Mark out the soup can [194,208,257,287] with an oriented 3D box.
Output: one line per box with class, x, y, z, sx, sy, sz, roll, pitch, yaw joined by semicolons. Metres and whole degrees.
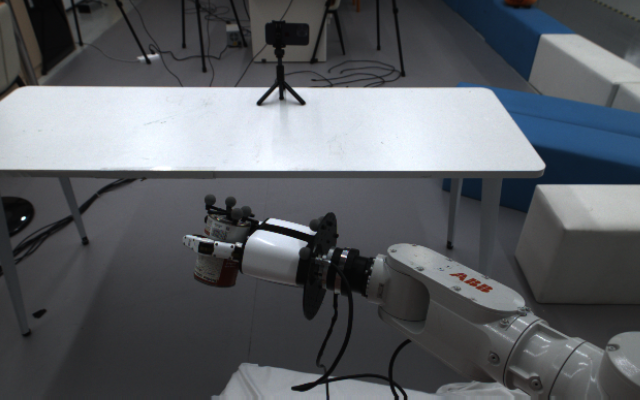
soup can;-0.149;0.076;0.740;0.067;0.101;0.067;16;7;-2
